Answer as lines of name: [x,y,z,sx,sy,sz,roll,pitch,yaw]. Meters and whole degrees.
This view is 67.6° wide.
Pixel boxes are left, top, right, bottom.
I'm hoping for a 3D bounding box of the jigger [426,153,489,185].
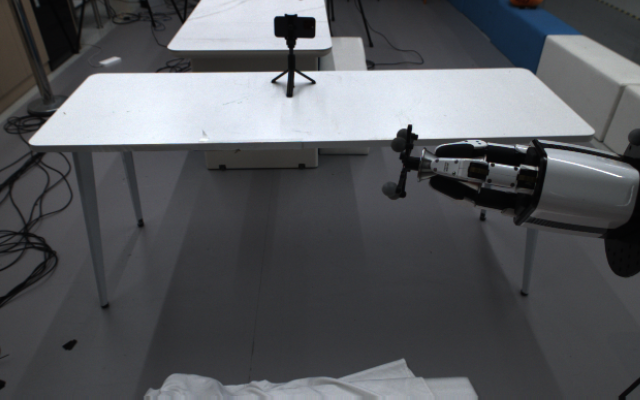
jigger: [0.153,-0.038,0.539,0.071,0.043,0.043,10,35,16]
